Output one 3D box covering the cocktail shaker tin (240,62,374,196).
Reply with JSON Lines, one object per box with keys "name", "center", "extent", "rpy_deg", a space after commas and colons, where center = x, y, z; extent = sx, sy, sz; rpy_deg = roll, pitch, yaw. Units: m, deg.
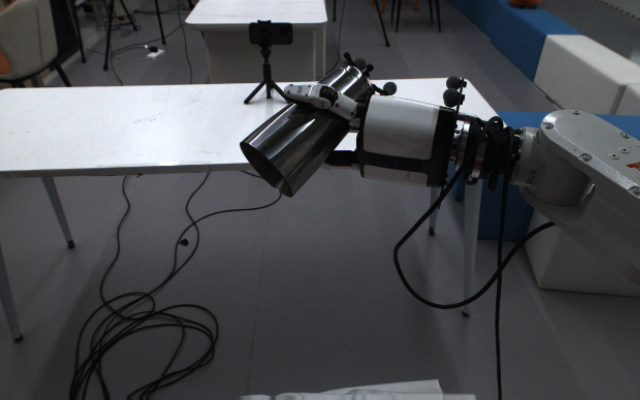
{"name": "cocktail shaker tin", "center": [-0.008, -0.098, 0.617], "extent": [0.170, 0.093, 0.093], "rpy_deg": [-44, 51, -15]}
